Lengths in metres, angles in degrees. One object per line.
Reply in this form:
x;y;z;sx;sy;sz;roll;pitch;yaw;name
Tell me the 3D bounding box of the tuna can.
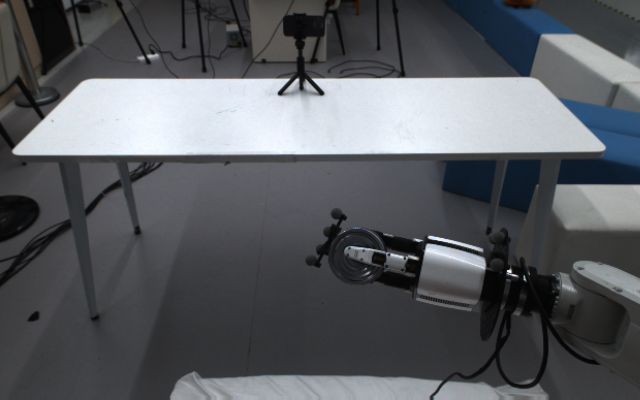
0.059;0.082;0.712;0.085;0.085;0.034;9;-5;10;tuna can
